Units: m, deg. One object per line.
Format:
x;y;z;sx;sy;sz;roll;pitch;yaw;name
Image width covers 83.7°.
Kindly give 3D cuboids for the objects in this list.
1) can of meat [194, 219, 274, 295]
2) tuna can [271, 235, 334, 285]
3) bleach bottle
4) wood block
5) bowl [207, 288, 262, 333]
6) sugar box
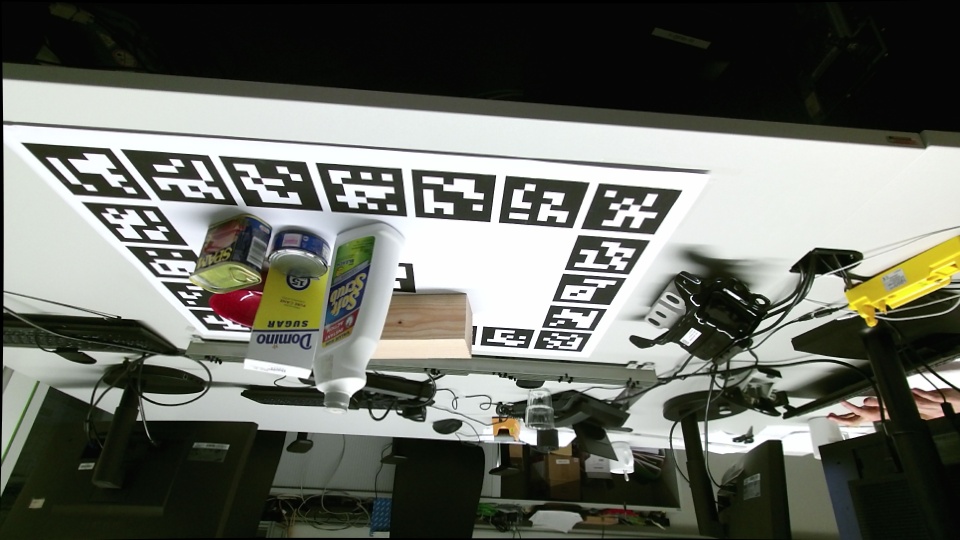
-0.347;-0.017;0.761;0.102;0.083;0.058;-12;150;25;can of meat
-0.262;-0.014;0.796;0.086;0.033;0.086;1;146;1;tuna can
-0.164;0.069;0.726;0.103;0.249;0.068;-11;148;20;bleach bottle
-0.118;0.110;0.954;0.207;0.089;0.091;-1;145;7;wood block
-0.374;0.059;0.912;0.162;0.055;0.162;-2;150;-1;bowl
-0.291;0.076;0.812;0.093;0.175;0.045;12;146;-22;sugar box
